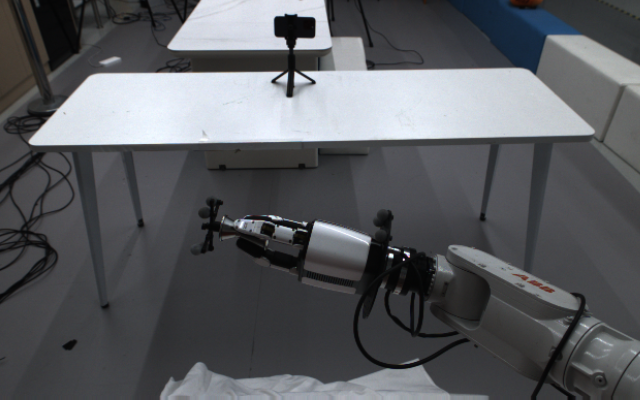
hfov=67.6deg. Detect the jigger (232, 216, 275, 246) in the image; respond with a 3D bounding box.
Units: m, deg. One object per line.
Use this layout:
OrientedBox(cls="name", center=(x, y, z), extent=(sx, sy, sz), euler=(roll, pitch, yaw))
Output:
OrientedBox(cls="jigger", center=(-0.101, 0.044, 0.702), extent=(0.071, 0.043, 0.043), euler=(10, 35, 1))
